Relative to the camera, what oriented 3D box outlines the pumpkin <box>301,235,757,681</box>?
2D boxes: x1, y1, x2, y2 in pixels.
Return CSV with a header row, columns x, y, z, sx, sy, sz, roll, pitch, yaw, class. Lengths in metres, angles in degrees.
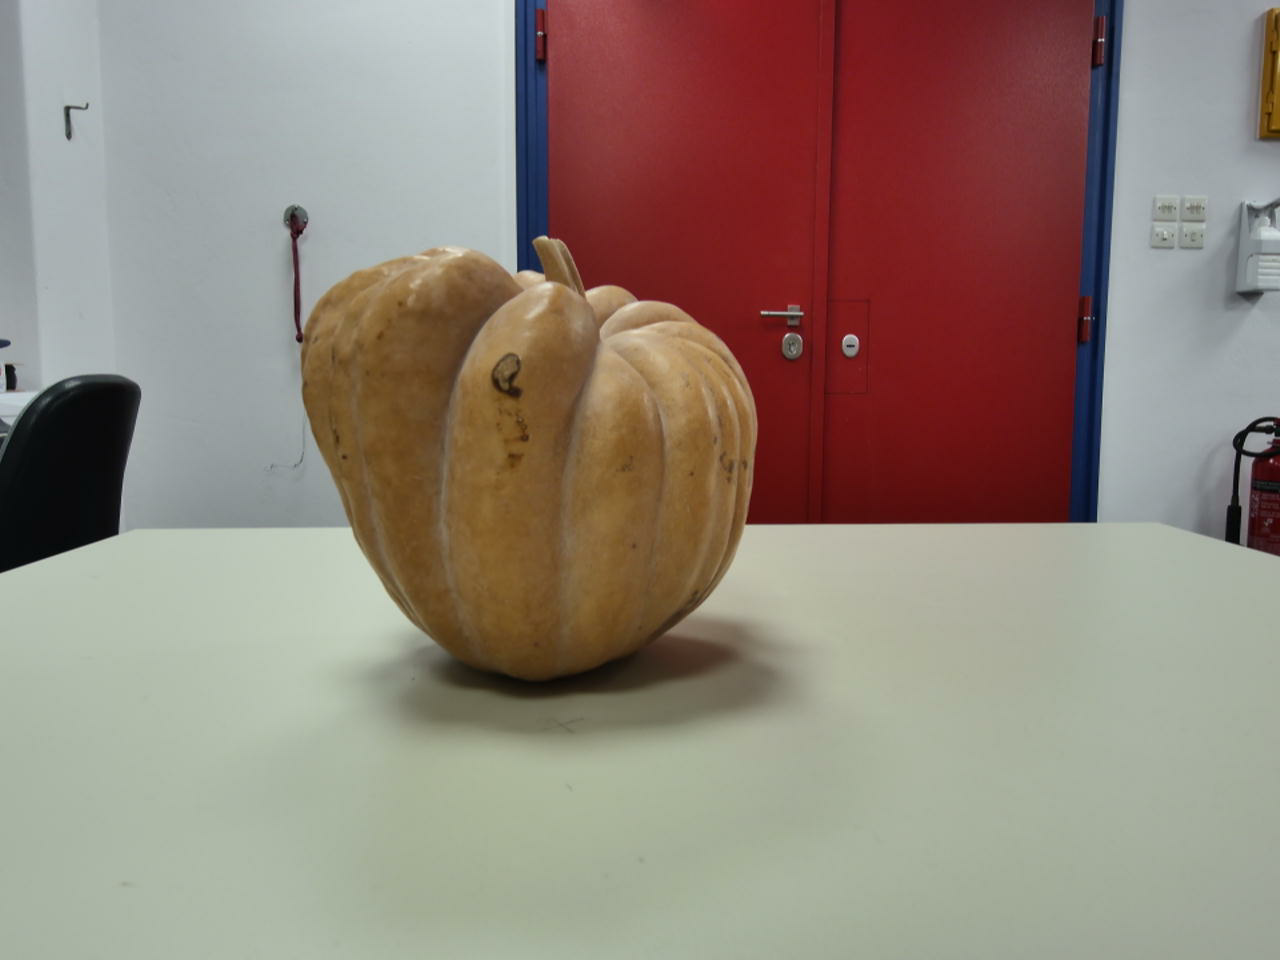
x,y,z,sx,sy,sz,roll,pitch,yaw,class
-0.044,-0.011,0.420,0.199,0.177,0.198,0,4,0,pumpkin
